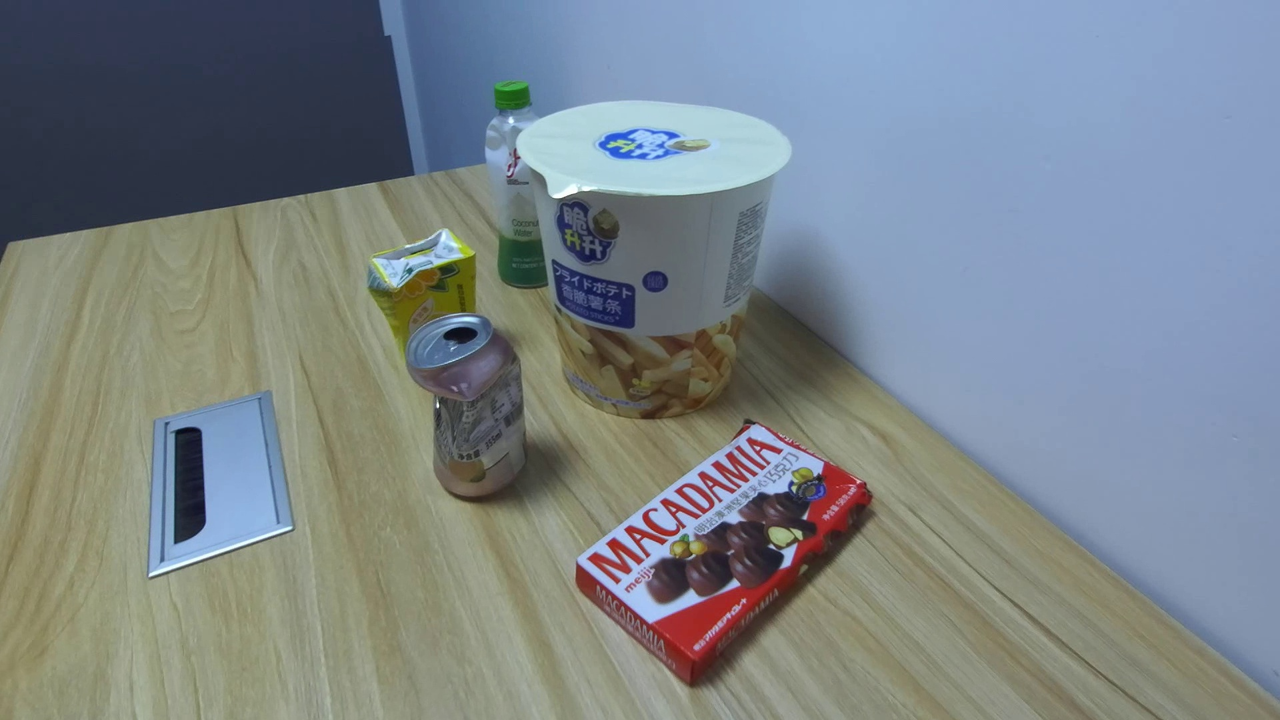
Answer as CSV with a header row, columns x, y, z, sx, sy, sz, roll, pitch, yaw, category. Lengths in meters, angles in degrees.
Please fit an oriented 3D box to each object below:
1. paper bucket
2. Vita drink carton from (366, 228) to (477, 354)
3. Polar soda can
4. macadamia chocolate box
x,y,z,sx,sy,sz,roll,pitch,yaw,category
0.010,-0.075,0.545,0.198,0.195,0.198,0,36,0,paper bucket
-0.175,-0.048,0.586,0.087,0.108,0.042,-17,54,-19,Vita drink carton
-0.117,0.031,0.470,0.071,0.122,0.066,12,43,16,Polar soda can
0.058,0.107,0.443,0.105,0.028,0.183,31,46,33,macadamia chocolate box
